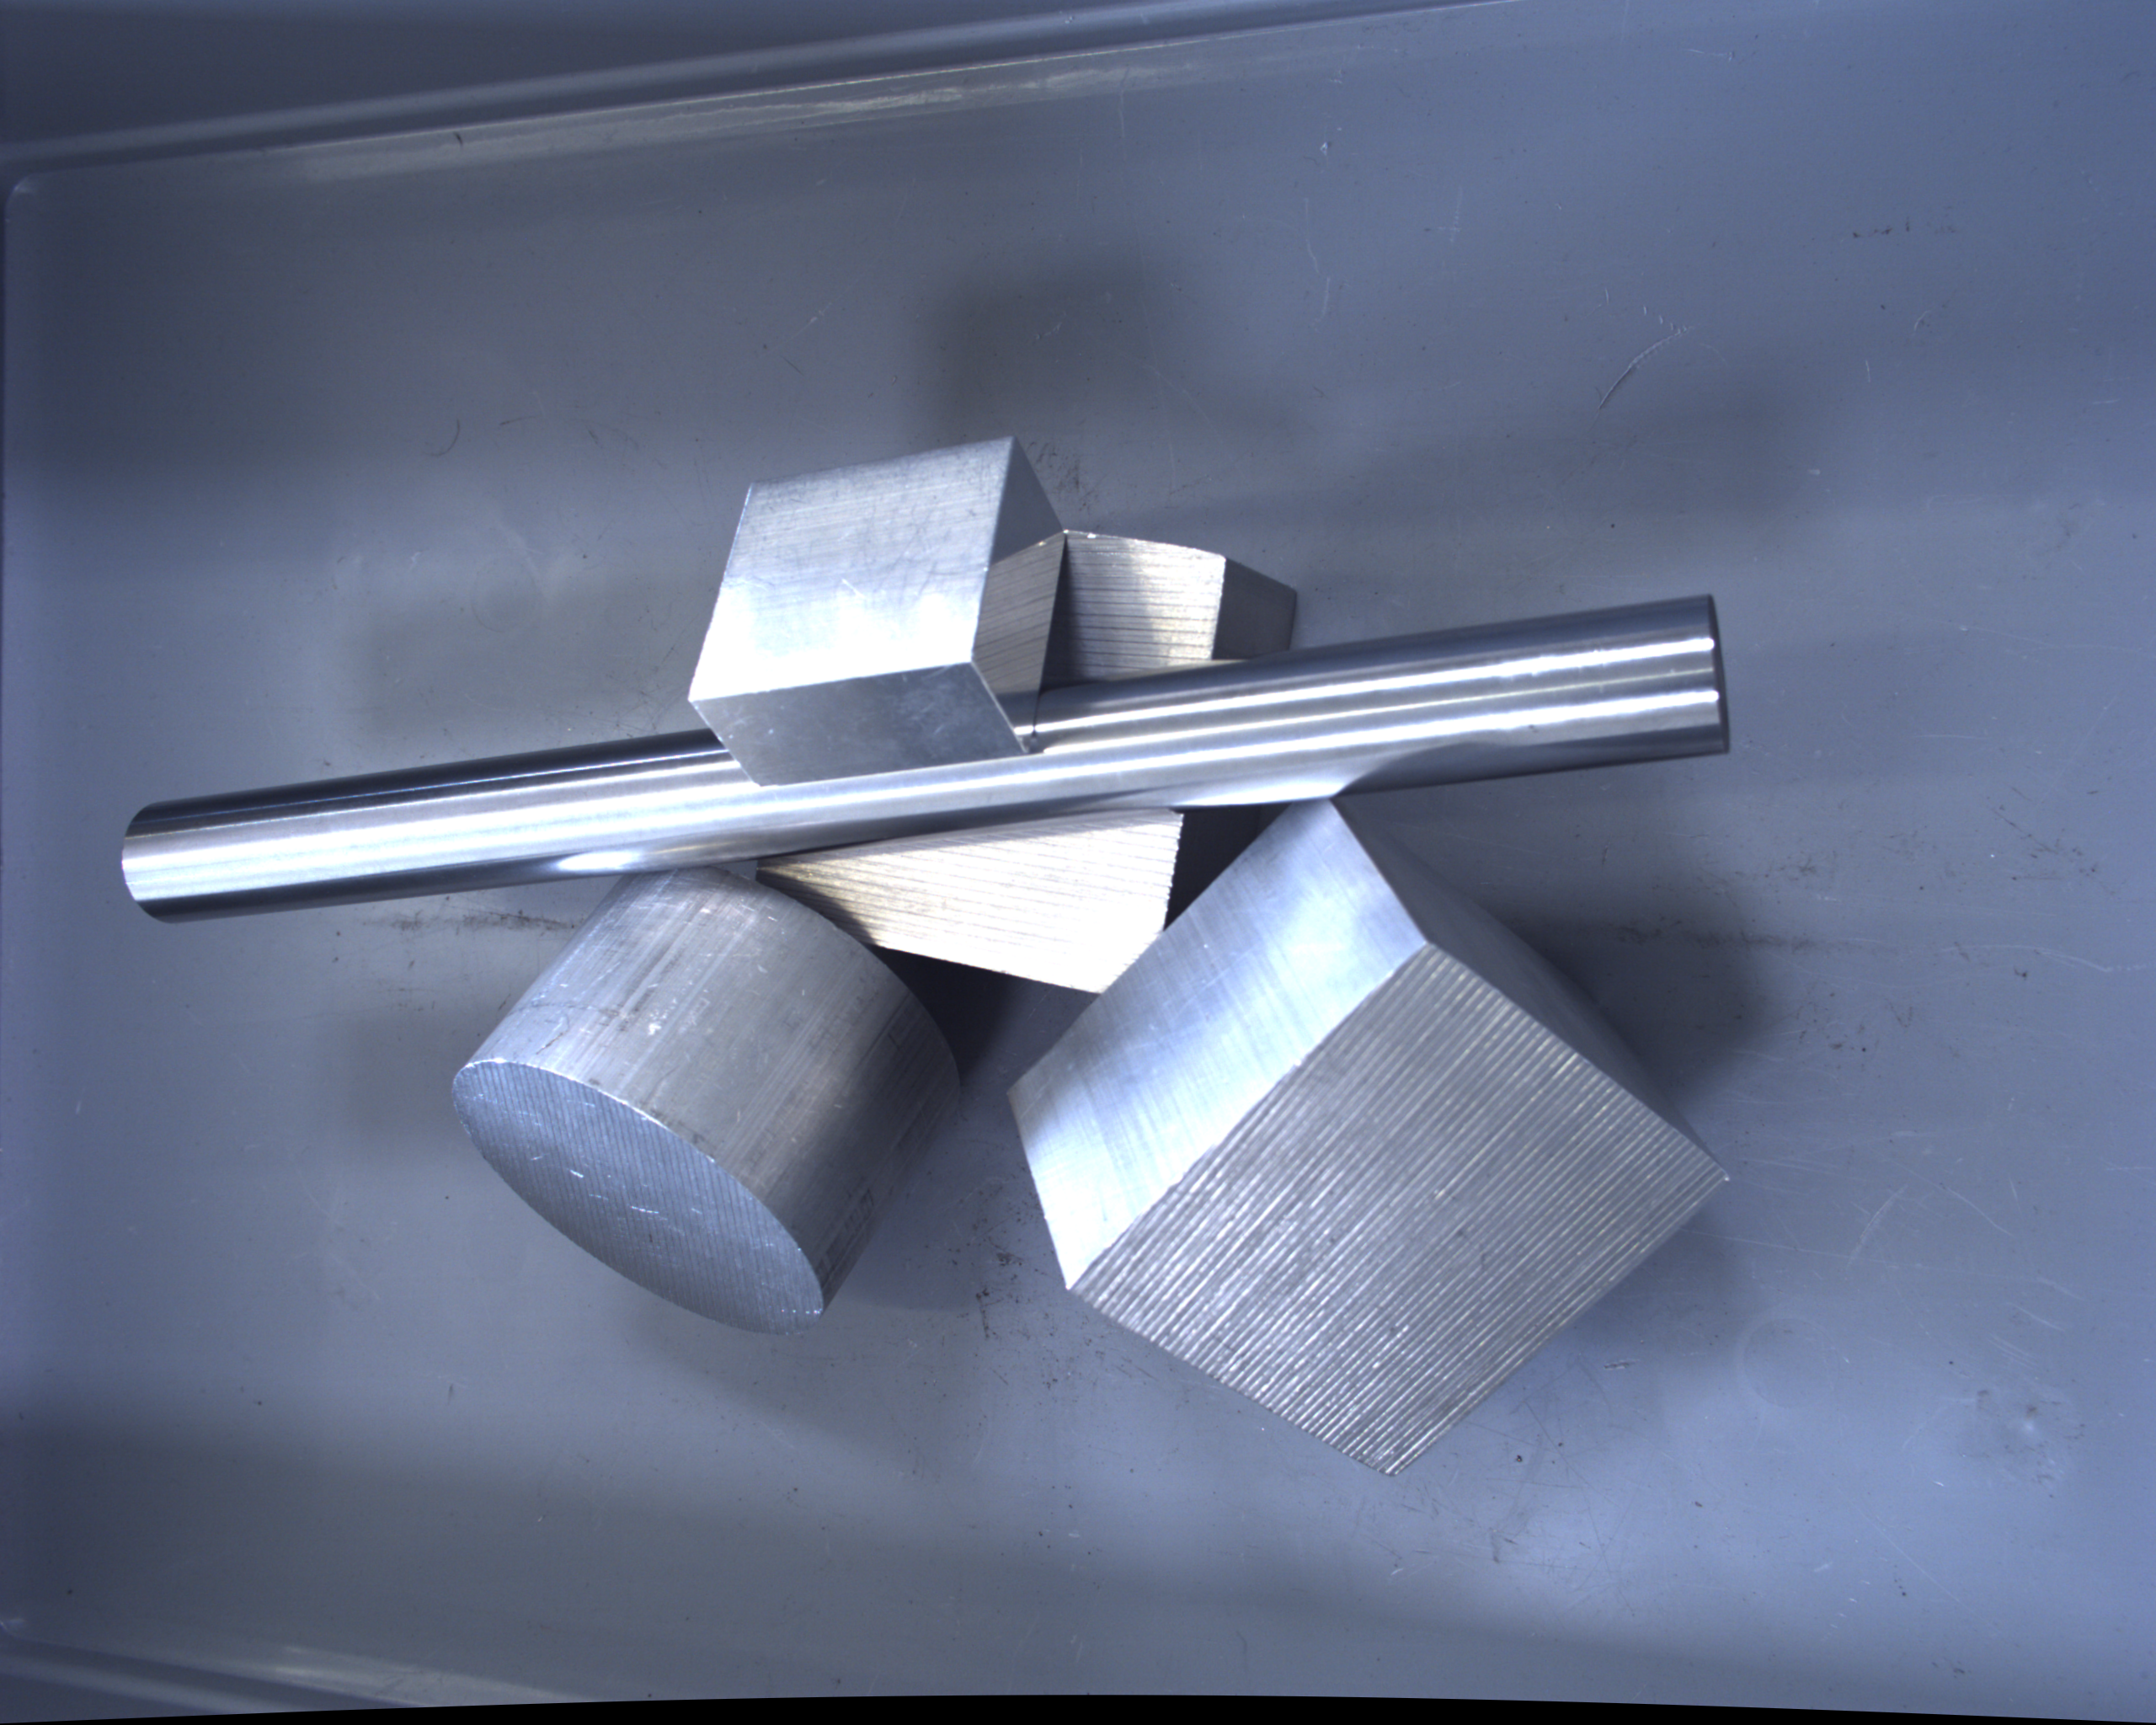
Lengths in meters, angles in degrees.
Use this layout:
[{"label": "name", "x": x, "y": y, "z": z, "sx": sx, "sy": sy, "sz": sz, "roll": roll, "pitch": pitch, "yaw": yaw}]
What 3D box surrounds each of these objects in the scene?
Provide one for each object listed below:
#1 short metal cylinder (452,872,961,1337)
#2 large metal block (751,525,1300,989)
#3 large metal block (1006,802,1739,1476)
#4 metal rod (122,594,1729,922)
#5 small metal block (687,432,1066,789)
[{"label": "short metal cylinder", "x": -0.070, "y": 0.046, "z": 0.398, "sx": 0.080, "sy": 0.080, "sz": 0.050, "roll": 21, "pitch": 54, "yaw": 18}, {"label": "large metal block", "x": -0.010, "y": -0.023, "z": 0.398, "sx": 0.080, "sy": 0.050, "sz": 0.079, "roll": 12, "pitch": 94, "yaw": 19}, {"label": "large metal block", "x": 0.048, "y": 0.046, "z": 0.356, "sx": 0.080, "sy": 0.050, "sz": 0.080, "roll": 36, "pitch": 106, "yaw": -29}, {"label": "metal rod", "x": -0.042, "y": -0.015, "z": 0.370, "sx": 0.301, "sy": 0.025, "sz": 0.025, "roll": -6, "pitch": 88, "yaw": 20}, {"label": "small metal block", "x": -0.033, "y": -0.043, "z": 0.354, "sx": 0.050, "sy": 0.025, "sz": 0.050, "roll": -6, "pitch": 53, "yaw": 20}]
